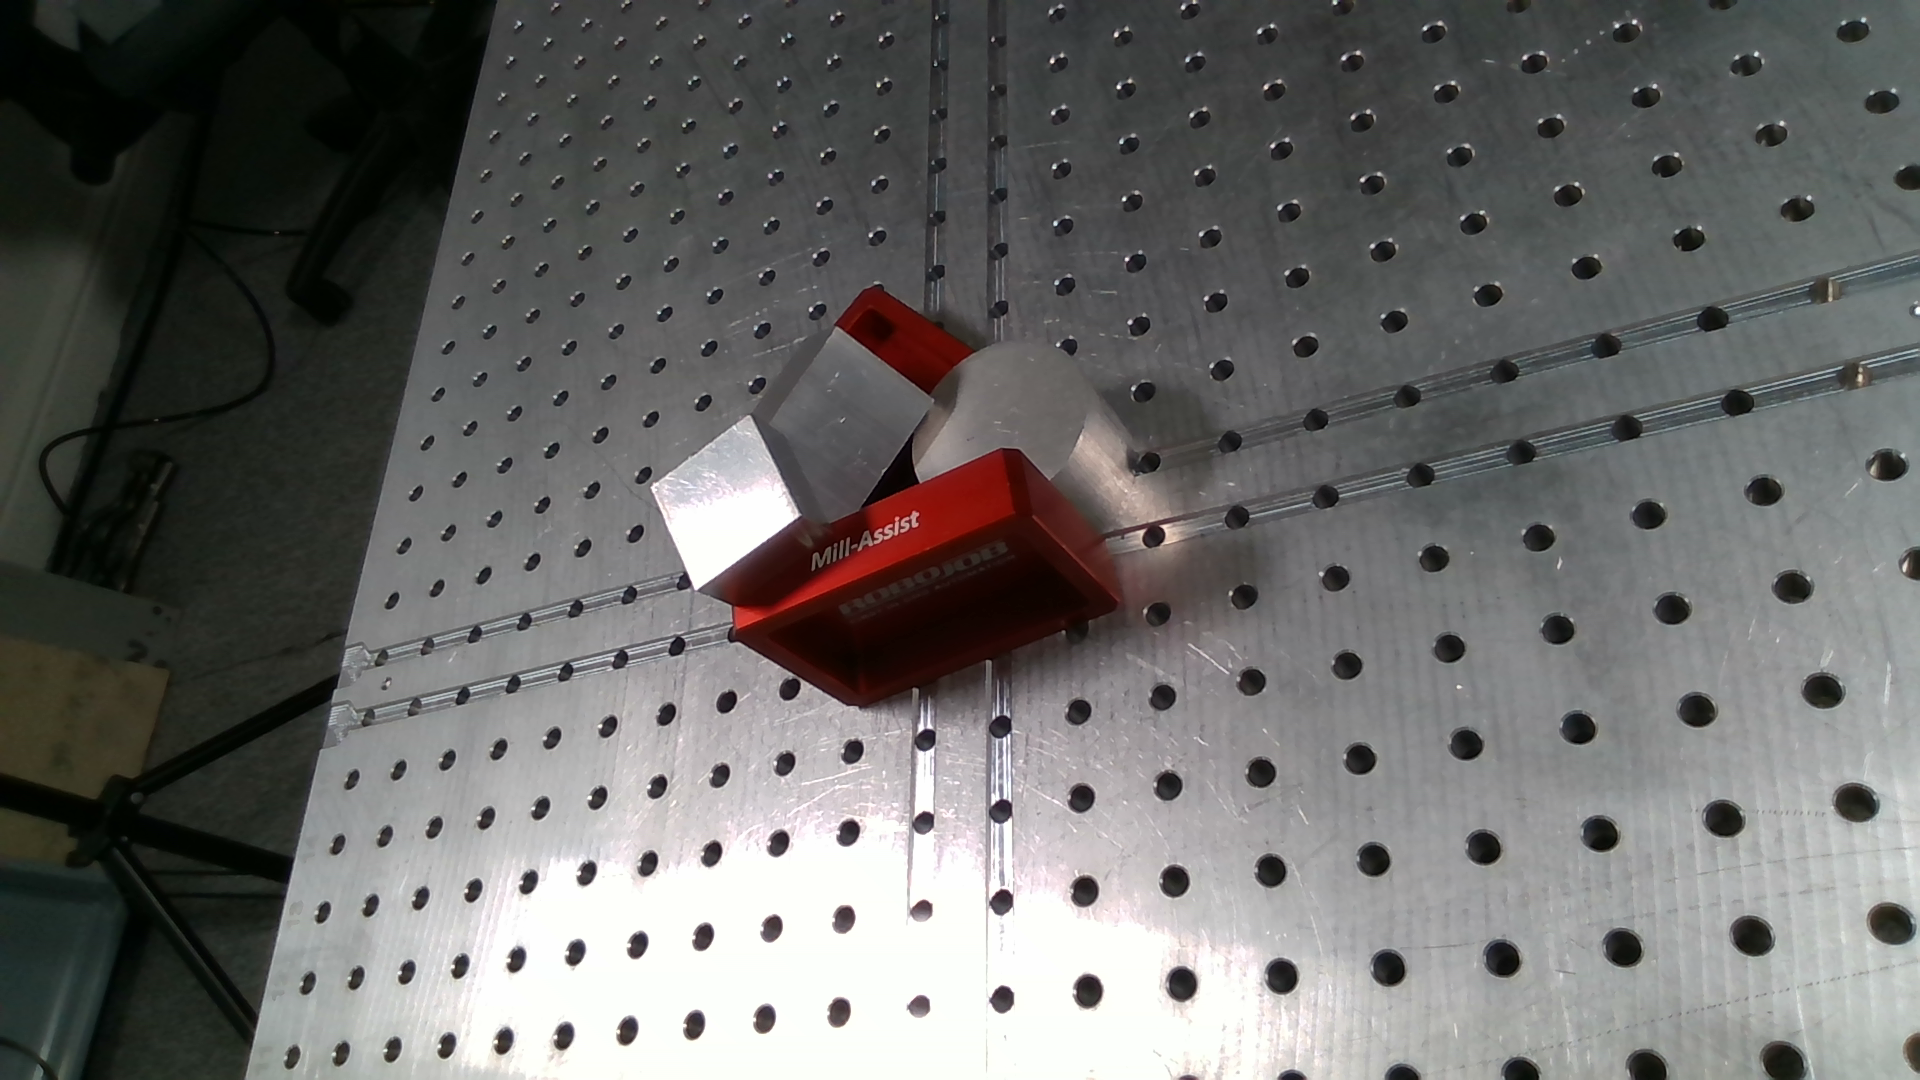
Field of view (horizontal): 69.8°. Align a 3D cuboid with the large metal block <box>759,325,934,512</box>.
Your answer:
[{"bbox_3d":[-0.063,-0.042,0.594,0.080,0.050,0.080,-56,16,-5],"label":"large metal block"}]

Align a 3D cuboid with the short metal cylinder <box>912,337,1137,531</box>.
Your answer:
[{"bbox_3d":[0.027,-0.037,0.575,0.080,0.050,0.080,-14,59,25],"label":"short metal cylinder"}]

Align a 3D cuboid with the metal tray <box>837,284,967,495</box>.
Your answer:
[{"bbox_3d":[-0.051,-0.047,0.640,0.130,0.030,0.090,-50,51,-1],"label":"metal tray"}]

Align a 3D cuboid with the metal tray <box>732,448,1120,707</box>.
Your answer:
[{"bbox_3d":[-0.014,0.019,0.545,0.130,0.090,0.030,-23,55,20],"label":"metal tray"}]

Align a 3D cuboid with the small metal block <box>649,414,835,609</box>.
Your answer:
[{"bbox_3d":[-0.083,-0.011,0.524,0.050,0.025,0.050,-35,63,12],"label":"small metal block"}]
